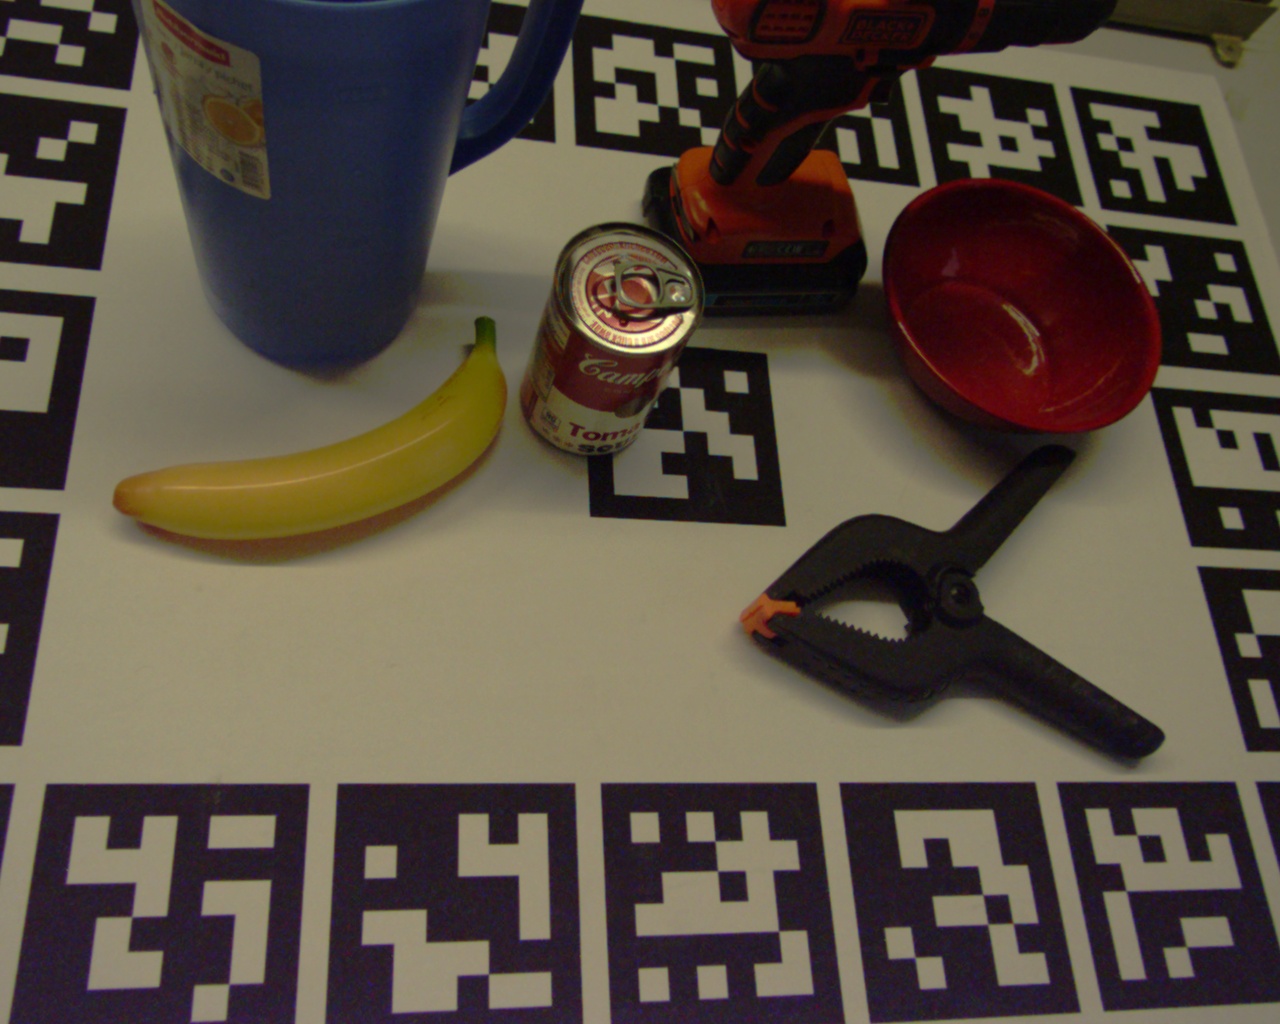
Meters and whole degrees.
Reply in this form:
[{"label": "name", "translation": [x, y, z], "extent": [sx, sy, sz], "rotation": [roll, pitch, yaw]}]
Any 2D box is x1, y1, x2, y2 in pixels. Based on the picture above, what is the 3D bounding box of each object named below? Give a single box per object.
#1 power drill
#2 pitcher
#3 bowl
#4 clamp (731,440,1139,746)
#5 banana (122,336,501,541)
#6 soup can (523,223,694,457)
[{"label": "power drill", "translation": [0.103, -0.193, 0.574], "extent": [0.183, 0.188, 0.057], "rotation": [-3, 68, -16]}, {"label": "pitcher", "translation": [-0.123, -0.170, 0.499], "extent": [0.187, 0.243, 0.134], "rotation": [-22, 71, -22]}, {"label": "bowl", "translation": [0.192, -0.105, 0.651], "extent": [0.161, 0.055, 0.162], "rotation": [4, 67, -12]}, {"label": "clamp", "translation": [0.146, 0.041, 0.579], "extent": [0.201, 0.037, 0.166], "rotation": [-1, 71, -14]}, {"label": "banana", "translation": [-0.143, -0.027, 0.548], "extent": [0.195, 0.039, 0.075], "rotation": [-24, 66, -23]}, {"label": "soup can", "translation": [-0.019, -0.082, 0.566], "extent": [0.067, 0.102, 0.068], "rotation": [6, 58, -11]}]
